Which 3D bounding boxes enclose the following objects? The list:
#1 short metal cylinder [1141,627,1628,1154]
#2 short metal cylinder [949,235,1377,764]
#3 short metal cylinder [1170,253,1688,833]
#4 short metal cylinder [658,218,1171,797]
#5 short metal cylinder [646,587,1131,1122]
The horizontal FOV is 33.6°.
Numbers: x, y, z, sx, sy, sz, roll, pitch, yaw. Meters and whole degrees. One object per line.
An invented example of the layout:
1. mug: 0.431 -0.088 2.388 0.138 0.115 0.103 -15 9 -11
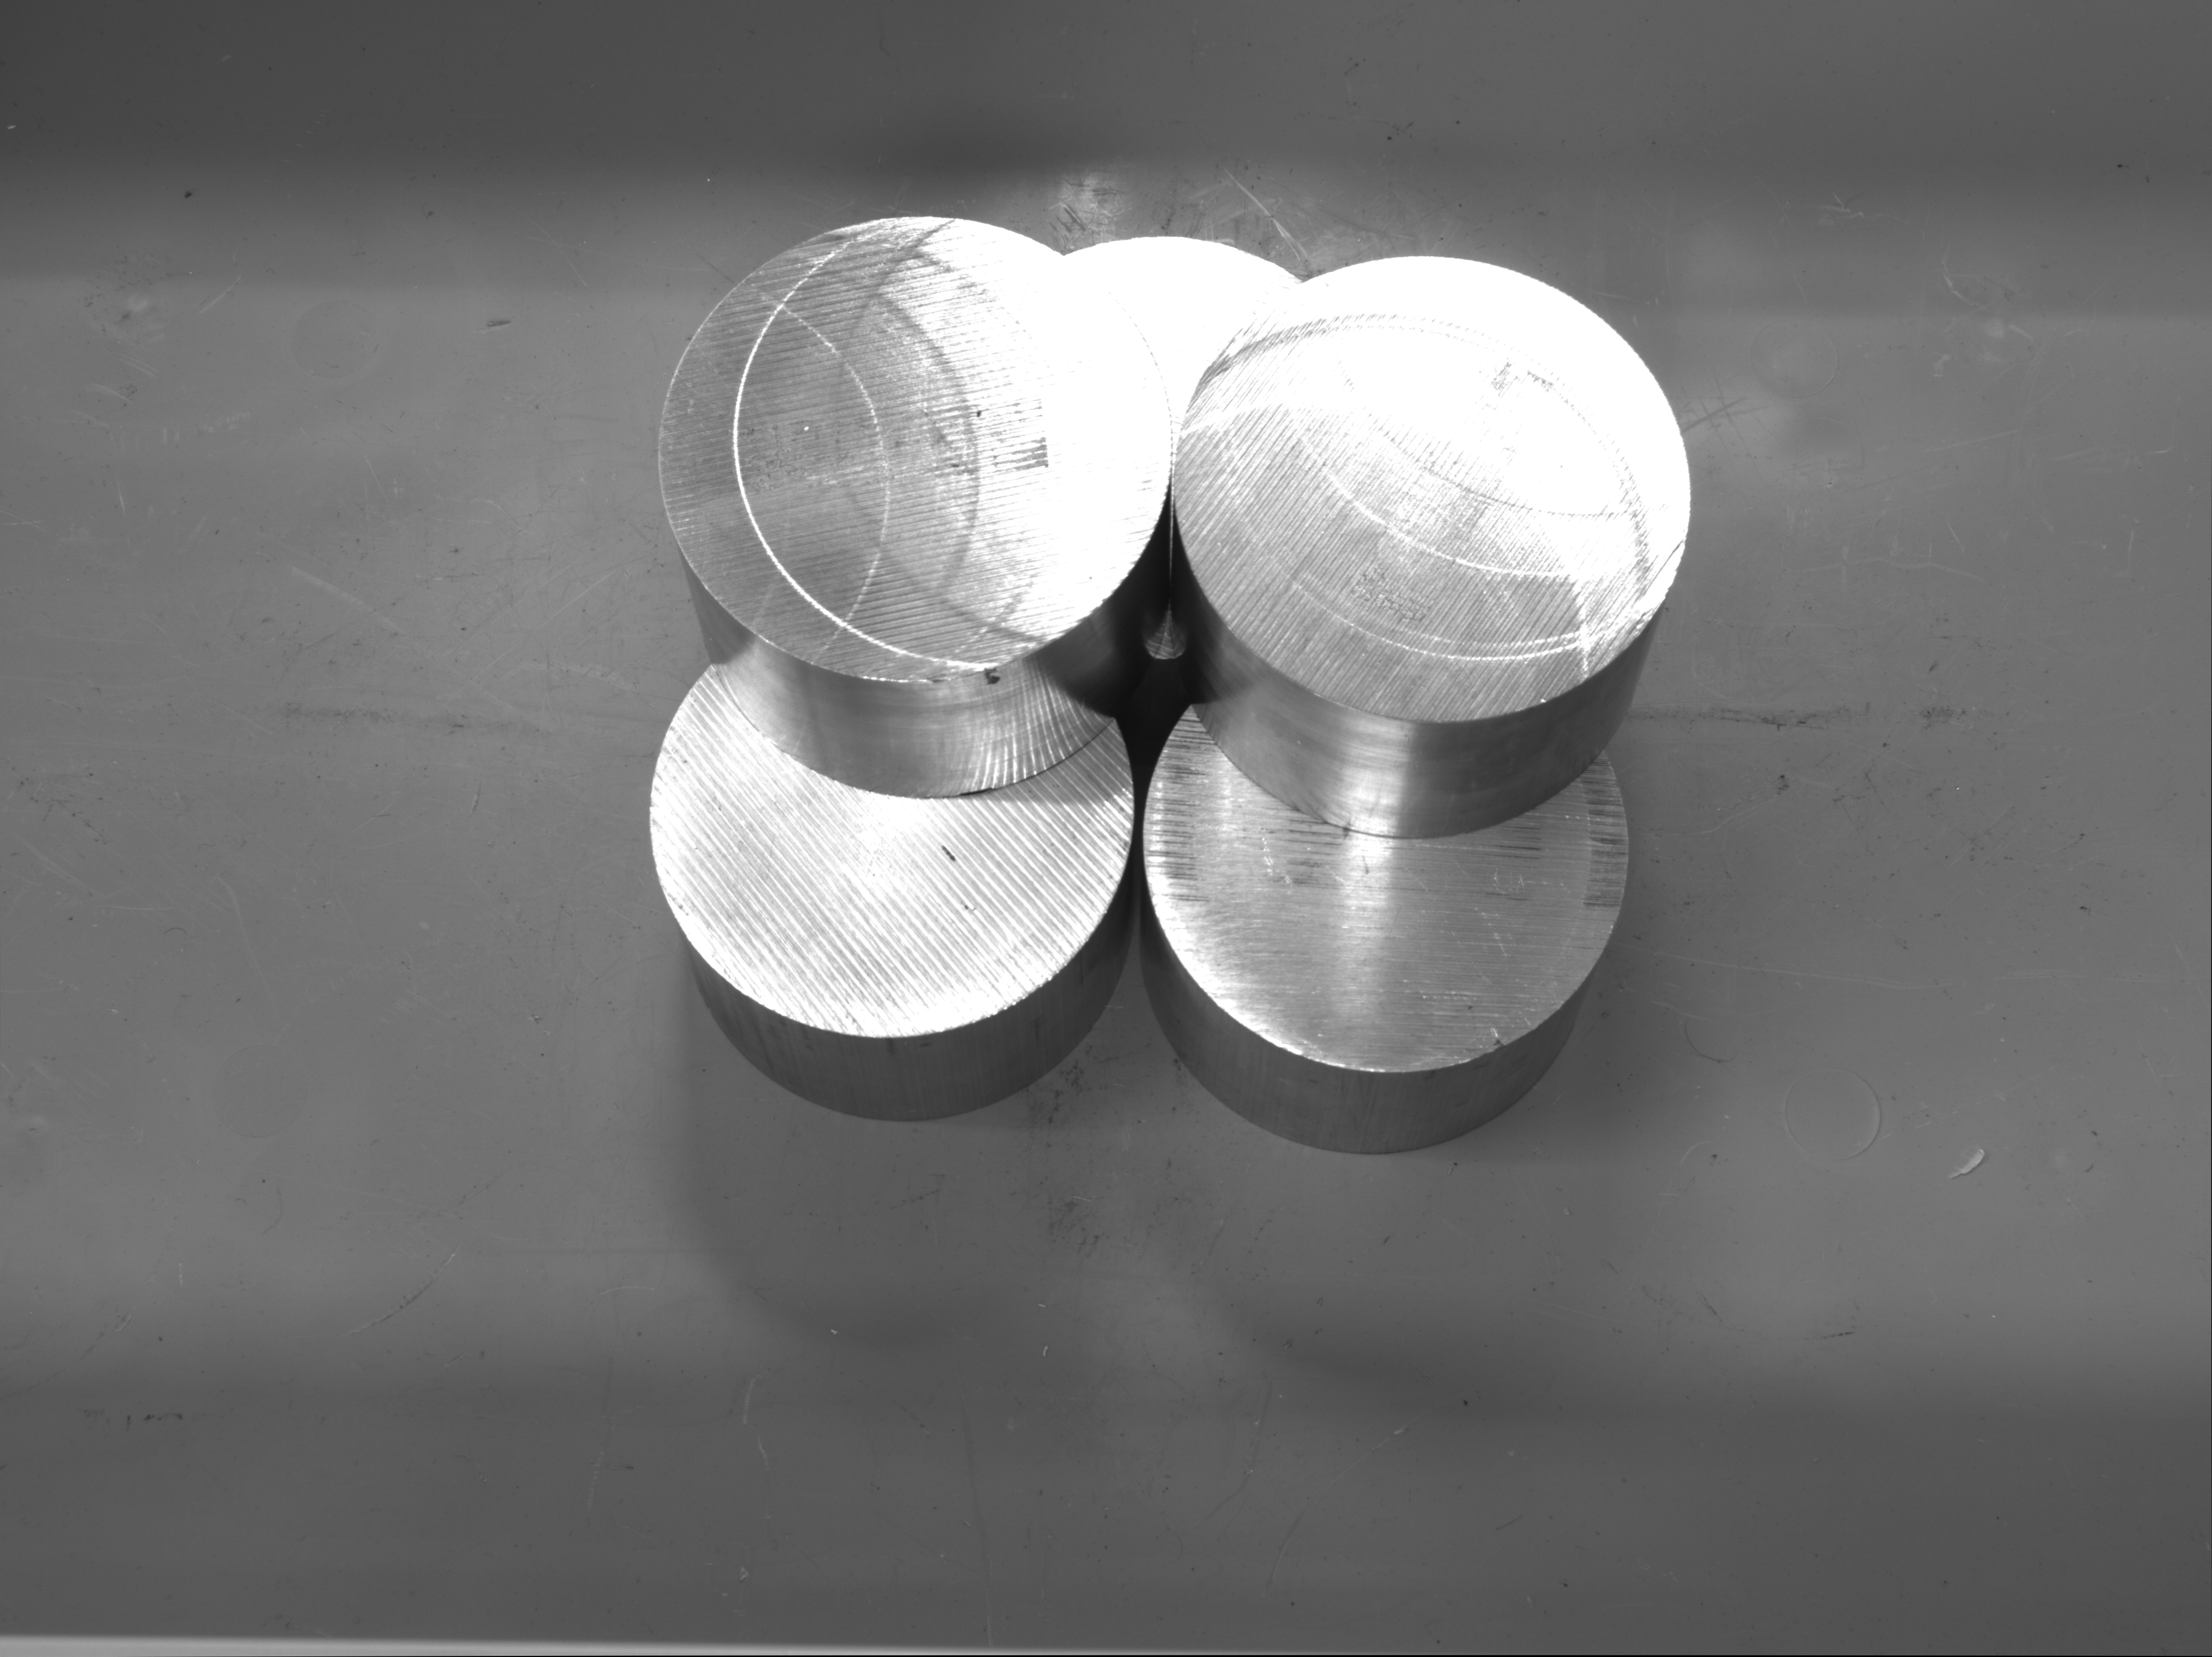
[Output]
1. short metal cylinder: 0.046 0.010 0.626 0.080 0.050 0.080 0 70 0
2. short metal cylinder: 0.009 -0.058 0.652 0.080 0.050 0.080 0 70 0
3. short metal cylinder: 0.051 -0.045 0.593 0.080 0.050 0.080 0 70 0
4. short metal cylinder: -0.030 -0.051 0.596 0.080 0.050 0.080 0 70 0
5. short metal cylinder: -0.036 0.005 0.628 0.080 0.050 0.080 0 70 0
